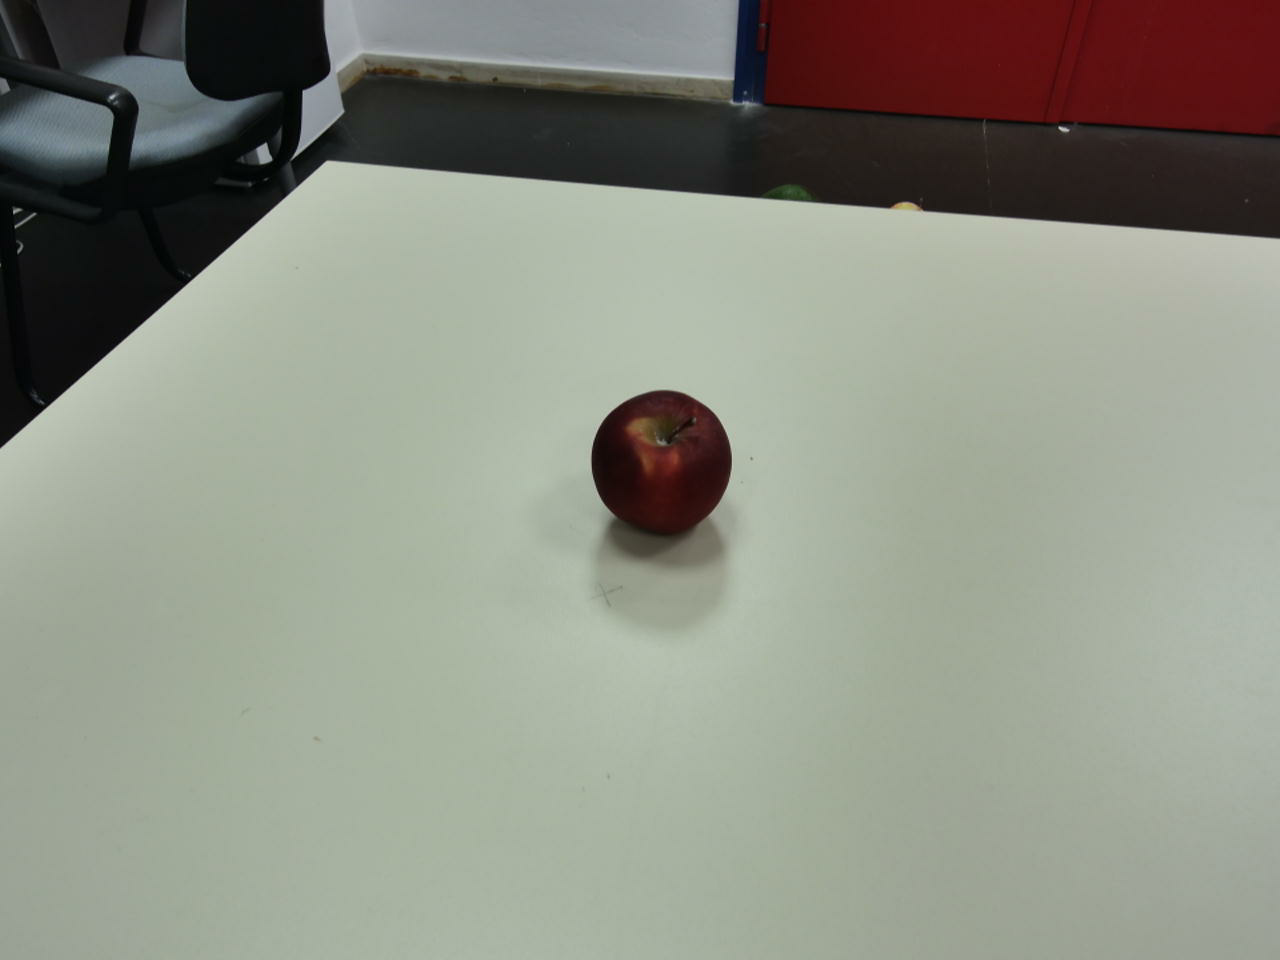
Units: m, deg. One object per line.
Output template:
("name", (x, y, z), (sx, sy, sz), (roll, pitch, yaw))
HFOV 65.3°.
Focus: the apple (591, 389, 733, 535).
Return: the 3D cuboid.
("apple", (0.011, -0.008, 0.489), (0.070, 0.072, 0.070), (1, 39, 0))
